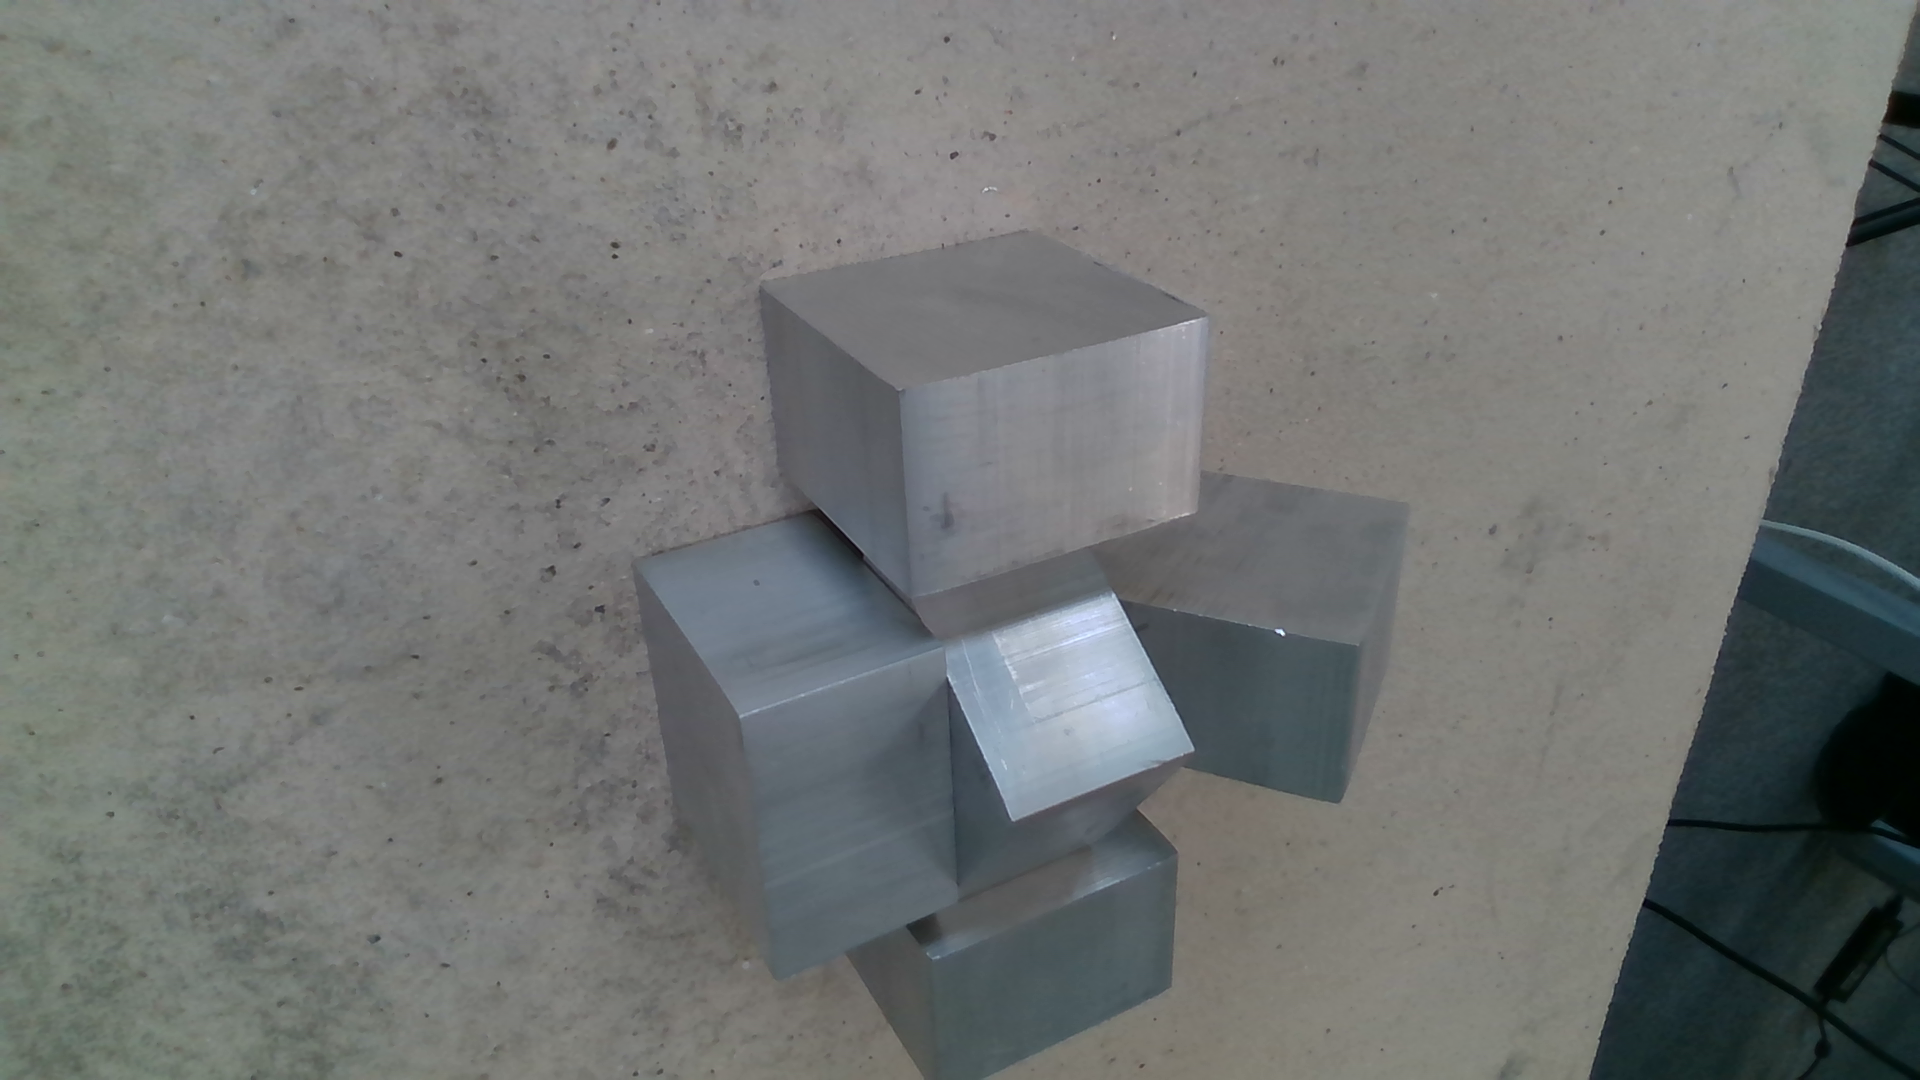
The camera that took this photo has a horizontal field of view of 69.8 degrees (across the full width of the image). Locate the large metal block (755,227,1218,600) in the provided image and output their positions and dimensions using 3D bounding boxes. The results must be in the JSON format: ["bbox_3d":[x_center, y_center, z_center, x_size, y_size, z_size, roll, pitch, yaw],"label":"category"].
[{"bbox_3d":[0.005,-0.036,0.337,0.080,0.080,0.050,-16,123,-24],"label":"large metal block"}]

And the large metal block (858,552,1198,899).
[{"bbox_3d":[0.008,0.042,0.363,0.050,0.080,0.080,-17,158,-24],"label":"large metal block"}]

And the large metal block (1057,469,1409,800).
[{"bbox_3d":[0.079,0.021,0.395,0.080,0.080,0.050,-49,143,-52],"label":"large metal block"}]

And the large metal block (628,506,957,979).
[{"bbox_3d":[-0.043,0.049,0.355,0.050,0.080,0.080,-17,122,-23],"label":"large metal block"}]

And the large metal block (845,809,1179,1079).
[{"bbox_3d":[0.008,0.104,0.416,0.080,0.080,0.050,-17,123,-25],"label":"large metal block"}]
